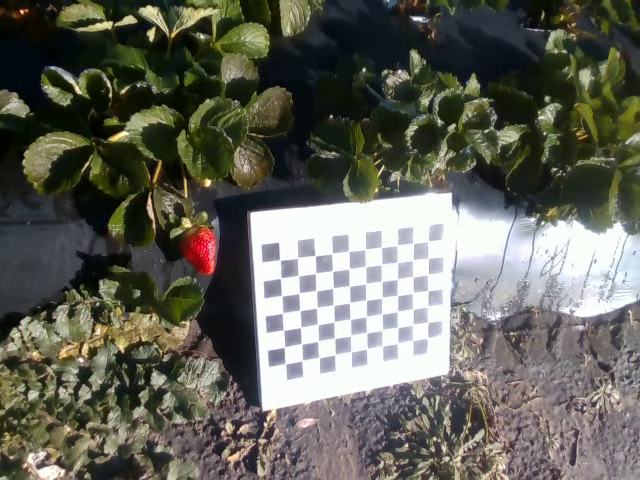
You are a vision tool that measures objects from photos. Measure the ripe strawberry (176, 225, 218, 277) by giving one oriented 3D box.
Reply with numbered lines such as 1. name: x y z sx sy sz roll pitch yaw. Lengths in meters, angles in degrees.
1. ripe strawberry: -0.145 0.014 0.766 0.048 0.069 0.040 -24 12 -13
